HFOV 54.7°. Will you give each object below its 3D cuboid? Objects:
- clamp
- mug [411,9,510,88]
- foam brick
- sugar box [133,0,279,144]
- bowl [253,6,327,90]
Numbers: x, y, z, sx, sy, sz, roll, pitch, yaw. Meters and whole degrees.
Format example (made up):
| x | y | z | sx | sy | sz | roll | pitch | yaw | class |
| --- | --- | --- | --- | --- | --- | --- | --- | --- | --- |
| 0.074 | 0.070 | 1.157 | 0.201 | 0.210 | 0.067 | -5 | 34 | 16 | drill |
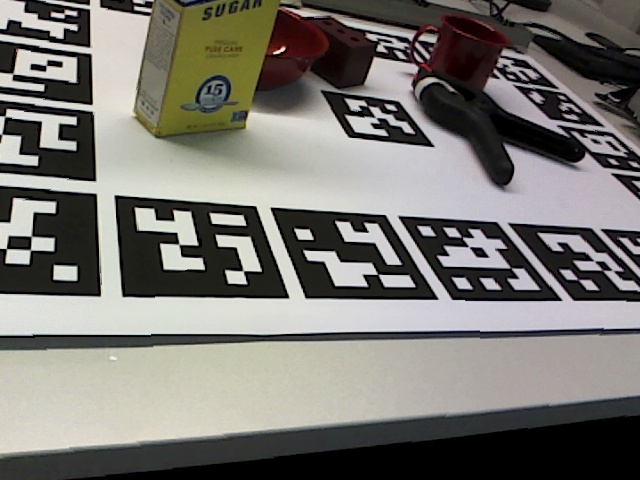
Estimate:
| x | y | z | sx | sy | sz | roll | pitch | yaw | class |
| --- | --- | --- | --- | --- | --- | --- | --- | --- | --- |
| 0.174 | -0.145 | 0.711 | 0.164 | 0.036 | 0.204 | -19 | 53 | -38 | clamp |
| 0.173 | -0.244 | 0.802 | 0.117 | 0.081 | 0.093 | 22 | 37 | -6 | mug |
| 0.019 | -0.216 | 0.730 | 0.052 | 0.051 | 0.078 | -22 | 56 | -42 | foam brick |
| -0.089 | -0.166 | 0.503 | 0.092 | 0.176 | 0.045 | -19 | 55 | -42 | sugar box |
| -0.077 | -0.208 | 0.660 | 0.161 | 0.055 | 0.162 | 14 | 37 | -11 | bowl |
